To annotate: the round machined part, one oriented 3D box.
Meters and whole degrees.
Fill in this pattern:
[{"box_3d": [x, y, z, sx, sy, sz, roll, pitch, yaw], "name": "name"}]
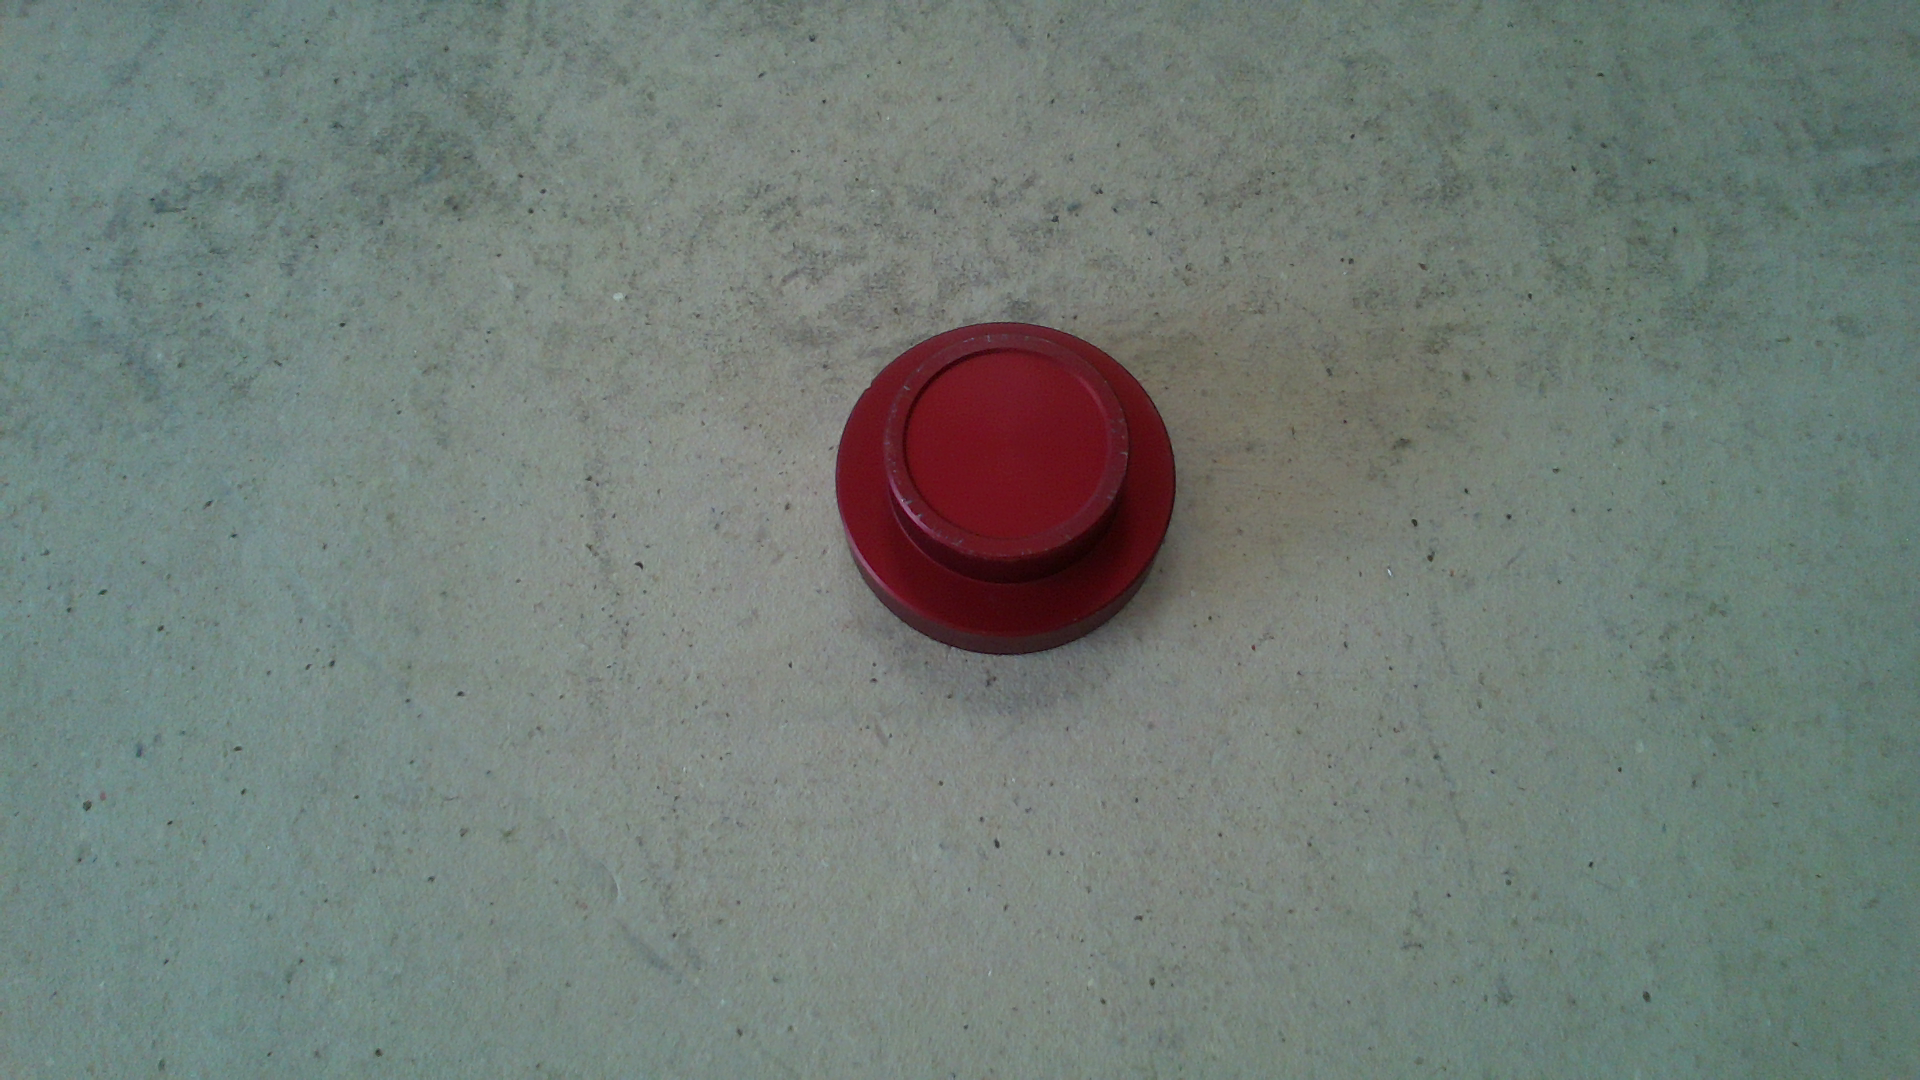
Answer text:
[{"box_3d": [0.013, -0.020, 0.393, 0.098, 0.042, 0.098, 0, 70, 0], "name": "round machined part"}]
